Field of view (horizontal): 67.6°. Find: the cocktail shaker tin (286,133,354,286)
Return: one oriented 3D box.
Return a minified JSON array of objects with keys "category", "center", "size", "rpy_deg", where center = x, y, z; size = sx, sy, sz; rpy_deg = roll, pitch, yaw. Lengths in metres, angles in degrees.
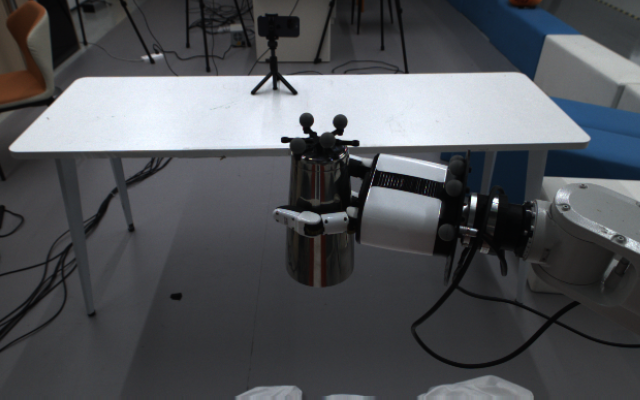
[{"category":"cocktail shaker tin","center":[0.002,0.012,0.598],"size":[0.093,0.170,0.093],"rpy_deg":[0,33,0]}]
